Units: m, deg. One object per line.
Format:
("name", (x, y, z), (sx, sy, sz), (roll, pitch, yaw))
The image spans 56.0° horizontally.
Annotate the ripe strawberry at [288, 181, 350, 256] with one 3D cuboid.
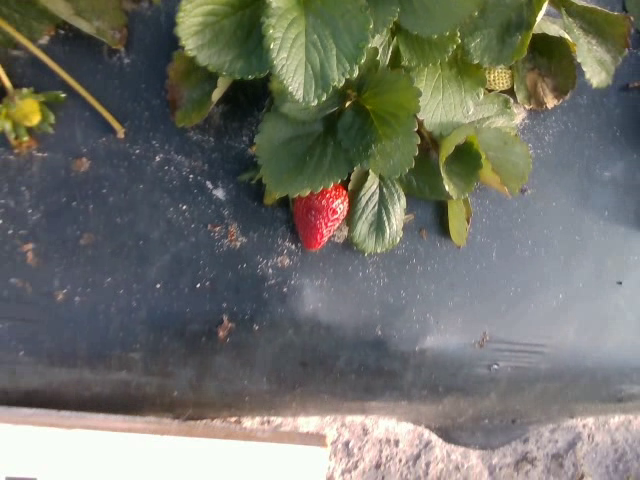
("ripe strawberry", (-0.001, -0.008, 0.247), (0.029, 0.036, 0.021), (10, 5, -4))
